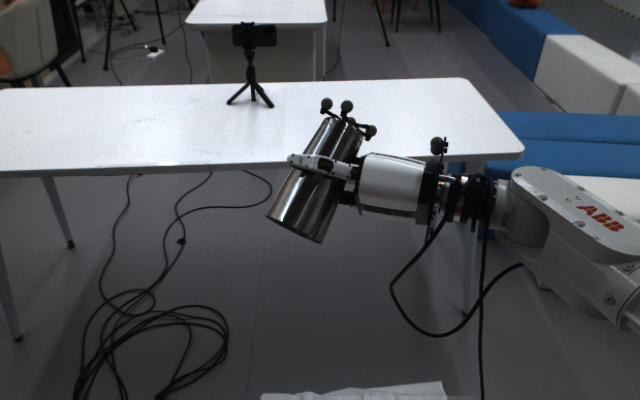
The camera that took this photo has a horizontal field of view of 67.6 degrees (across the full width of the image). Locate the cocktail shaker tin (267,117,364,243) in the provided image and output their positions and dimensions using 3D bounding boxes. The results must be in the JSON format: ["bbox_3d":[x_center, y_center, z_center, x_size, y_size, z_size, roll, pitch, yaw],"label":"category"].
[{"bbox_3d":[0.000,-0.035,0.710,0.093,0.093,0.170,21,81,26],"label":"cocktail shaker tin"}]
